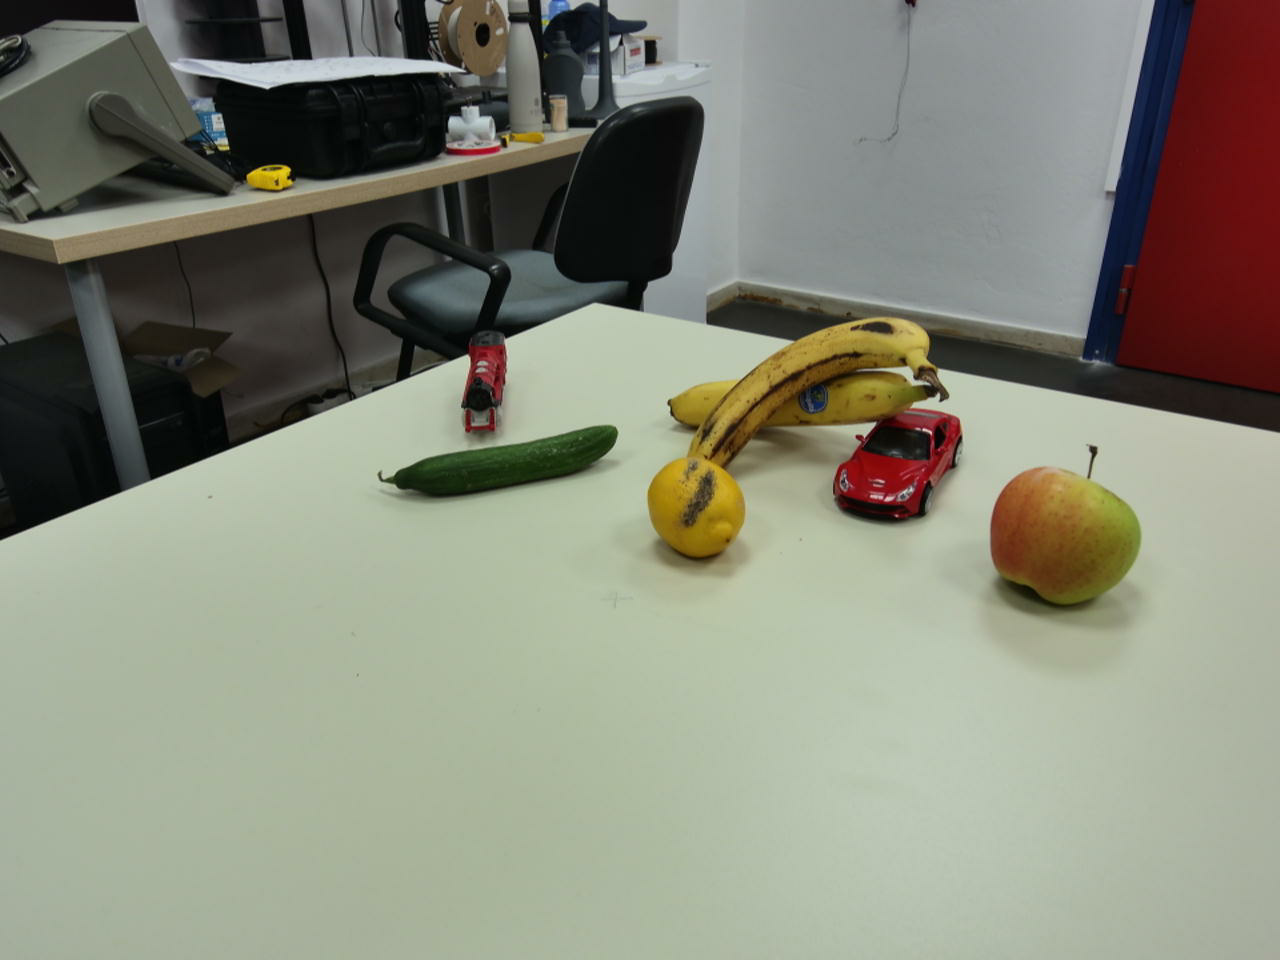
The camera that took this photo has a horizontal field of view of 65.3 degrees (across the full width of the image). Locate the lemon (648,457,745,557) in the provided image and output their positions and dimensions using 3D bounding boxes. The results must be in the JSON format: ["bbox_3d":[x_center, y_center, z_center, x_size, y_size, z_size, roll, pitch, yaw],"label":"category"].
[{"bbox_3d":[0.034,0.016,0.598,0.061,0.056,0.058,13,28,25],"label":"lemon"}]
